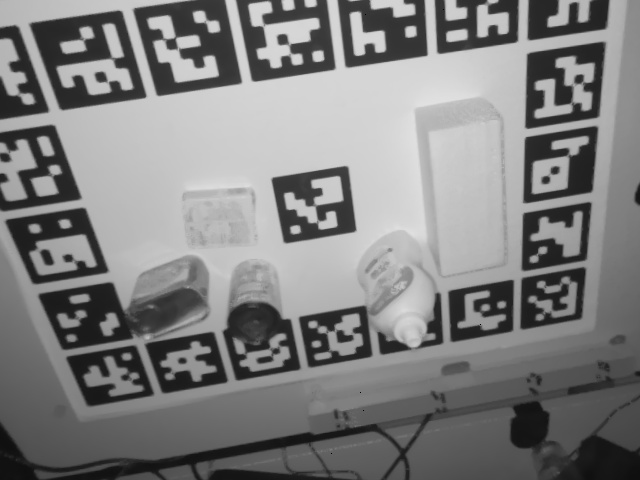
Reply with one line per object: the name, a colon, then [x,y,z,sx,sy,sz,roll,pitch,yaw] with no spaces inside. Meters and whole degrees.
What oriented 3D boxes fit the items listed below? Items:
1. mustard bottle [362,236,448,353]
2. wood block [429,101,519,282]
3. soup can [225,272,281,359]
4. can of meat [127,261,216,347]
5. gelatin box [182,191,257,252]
mustard bottle: [0.108,0.073,0.862,0.095,0.192,0.058,-31,118,14]
wood block: [0.188,-0.054,0.854,0.091,0.090,0.205,-8,123,1]
soup can: [-0.085,0.093,0.888,0.068,0.102,0.067,-3,118,-4]
can of meat: [-0.186,0.080,0.891,0.101,0.084,0.057,-20,118,8]
gelatin box: [-0.124,-0.023,0.866,0.090,0.030,0.072,-1,117,-8]
